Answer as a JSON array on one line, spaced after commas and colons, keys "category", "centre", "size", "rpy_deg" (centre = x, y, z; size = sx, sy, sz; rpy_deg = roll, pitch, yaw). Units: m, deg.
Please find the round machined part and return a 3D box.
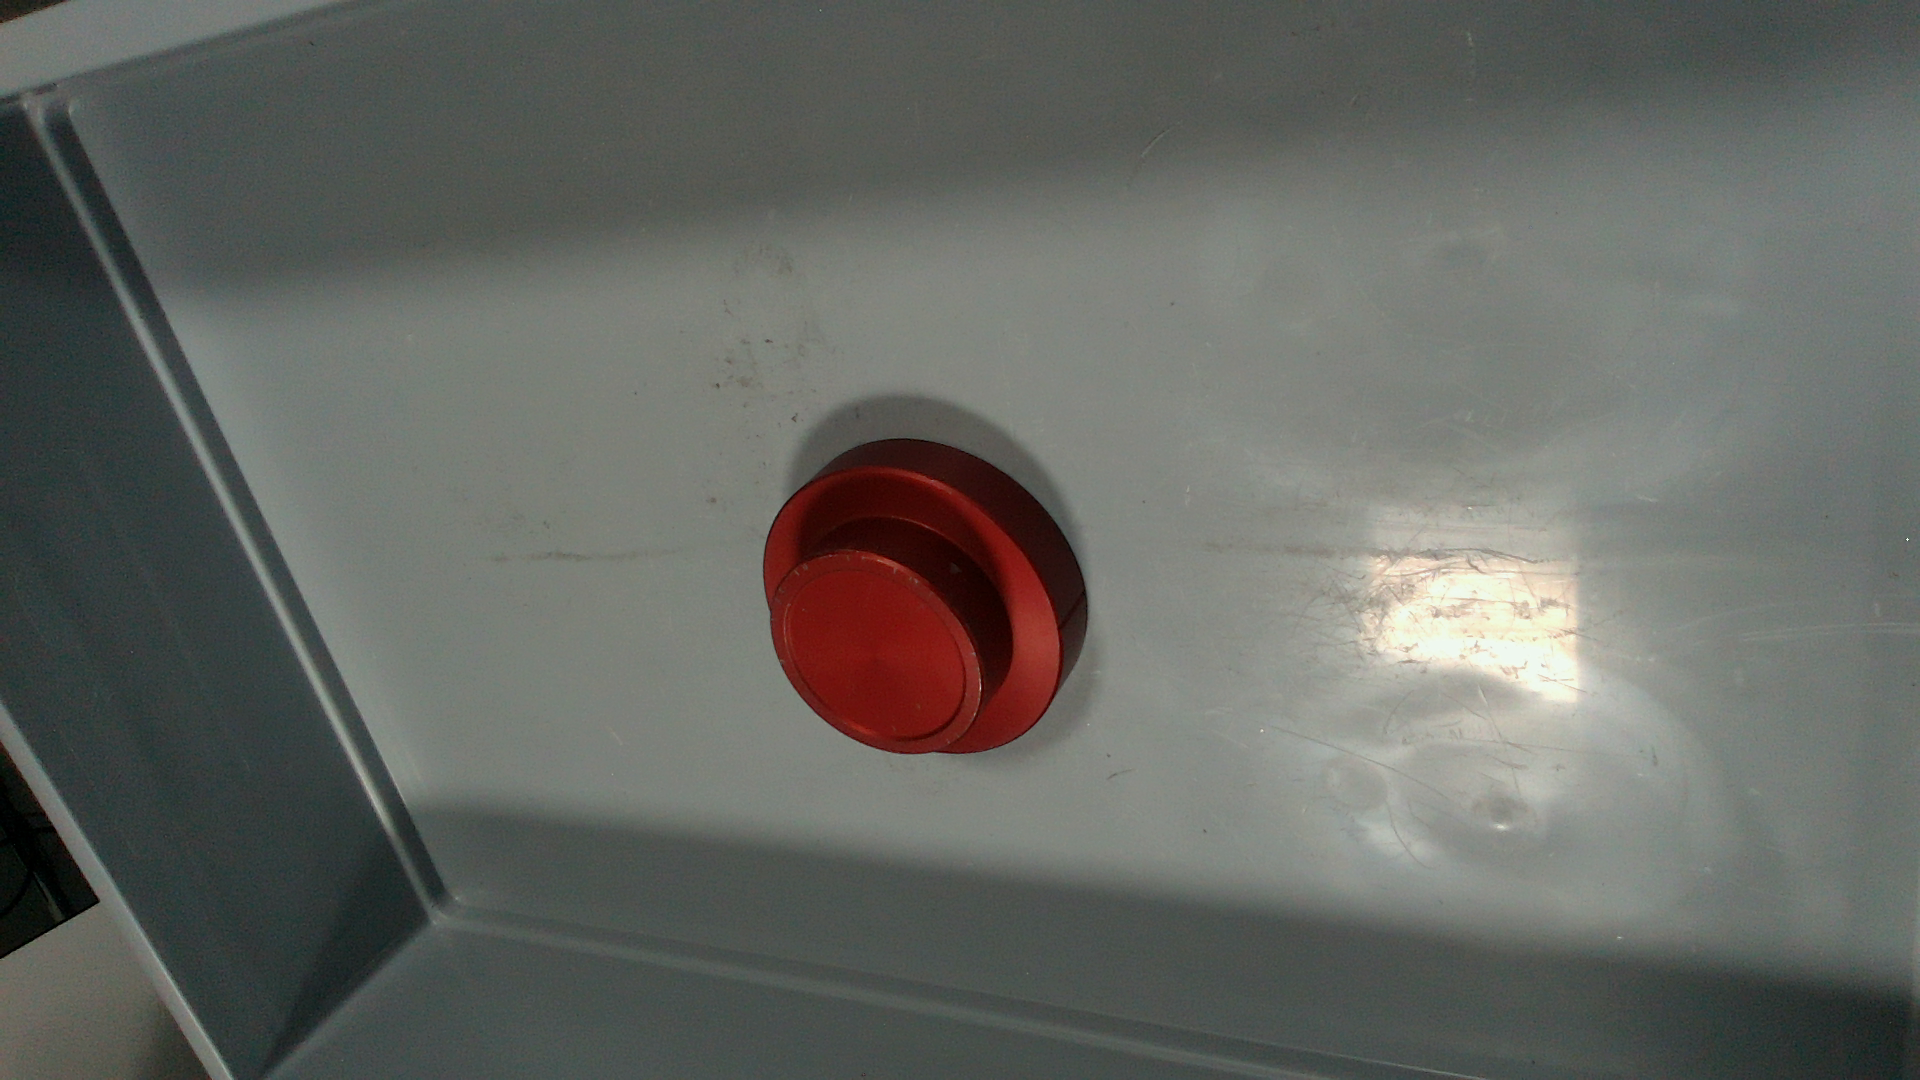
[{"category": "round machined part", "centre": [-0.016, 0.023, 0.401], "size": [0.098, 0.042, 0.098], "rpy_deg": [13, 124, 21]}]
